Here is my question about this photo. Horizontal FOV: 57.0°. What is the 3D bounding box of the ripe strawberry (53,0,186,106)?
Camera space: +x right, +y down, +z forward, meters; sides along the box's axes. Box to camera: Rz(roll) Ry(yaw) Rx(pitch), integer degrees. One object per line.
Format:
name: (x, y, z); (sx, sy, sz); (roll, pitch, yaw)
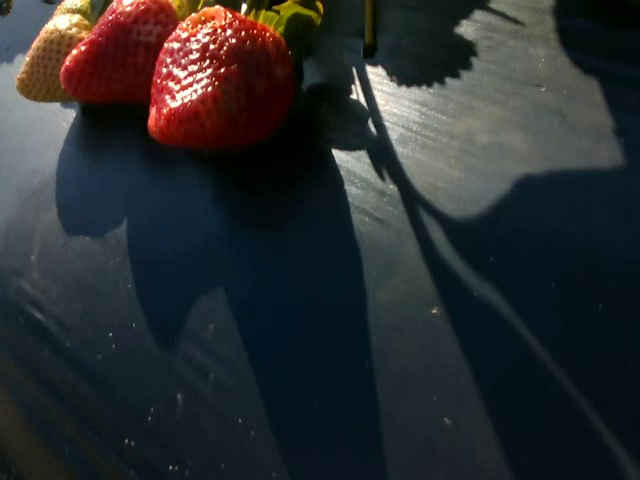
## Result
ripe strawberry: (-0.072, -0.071, 0.221); (0.061, 0.050, 0.043); (-31, -18, -14)

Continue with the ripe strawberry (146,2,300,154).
ripe strawberry: (-0.035, -0.048, 0.190); (0.057, 0.052, 0.067); (-28, 24, 33)
